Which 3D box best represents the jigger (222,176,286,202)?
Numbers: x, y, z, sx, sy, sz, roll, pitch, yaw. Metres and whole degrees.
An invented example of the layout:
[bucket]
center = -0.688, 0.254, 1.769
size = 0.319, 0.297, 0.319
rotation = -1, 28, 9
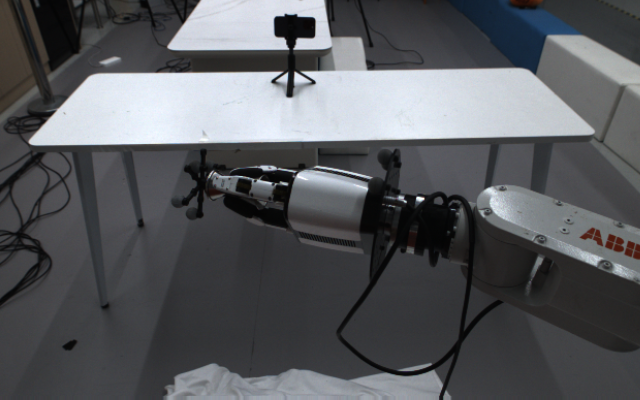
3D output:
[jigger]
center = -0.095, -0.018, 0.598
size = 0.071, 0.043, 0.043
rotation = 8, 35, 15
